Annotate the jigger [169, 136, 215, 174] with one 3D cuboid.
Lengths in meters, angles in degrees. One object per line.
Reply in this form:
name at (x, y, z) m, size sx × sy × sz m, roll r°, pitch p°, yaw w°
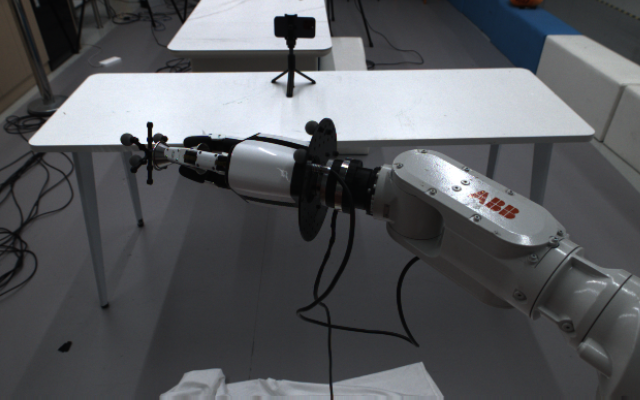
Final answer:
jigger at (-0.189, -0.065, 0.676) m, size 0.071 × 0.043 × 0.043 m, roll 5°, pitch 34°, yaw 15°
